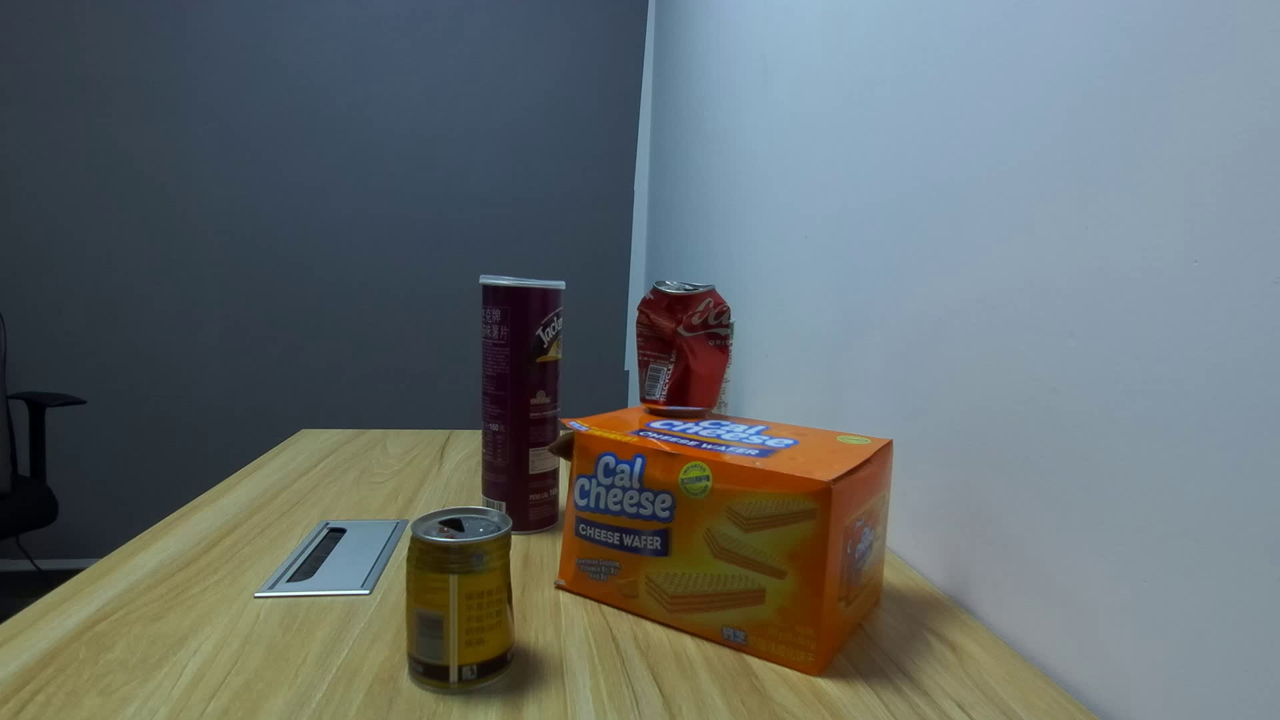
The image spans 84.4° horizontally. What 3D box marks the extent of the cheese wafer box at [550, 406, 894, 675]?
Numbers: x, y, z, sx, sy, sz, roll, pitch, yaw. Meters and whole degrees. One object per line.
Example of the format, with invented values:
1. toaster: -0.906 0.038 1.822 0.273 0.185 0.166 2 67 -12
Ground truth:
1. cheese wafer box: 0.061 0.115 0.543 0.226 0.137 0.150 7 9 33

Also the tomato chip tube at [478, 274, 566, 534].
1. tomato chip tube: -0.114 0.042 0.683 0.078 0.233 0.078 2 7 0

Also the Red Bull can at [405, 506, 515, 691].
1. Red Bull can: -0.109 0.144 0.433 0.069 0.092 0.069 2 5 0

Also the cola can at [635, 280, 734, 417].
1. cola can: 0.034 -0.011 0.598 0.066 0.112 0.069 -5 14 -36
